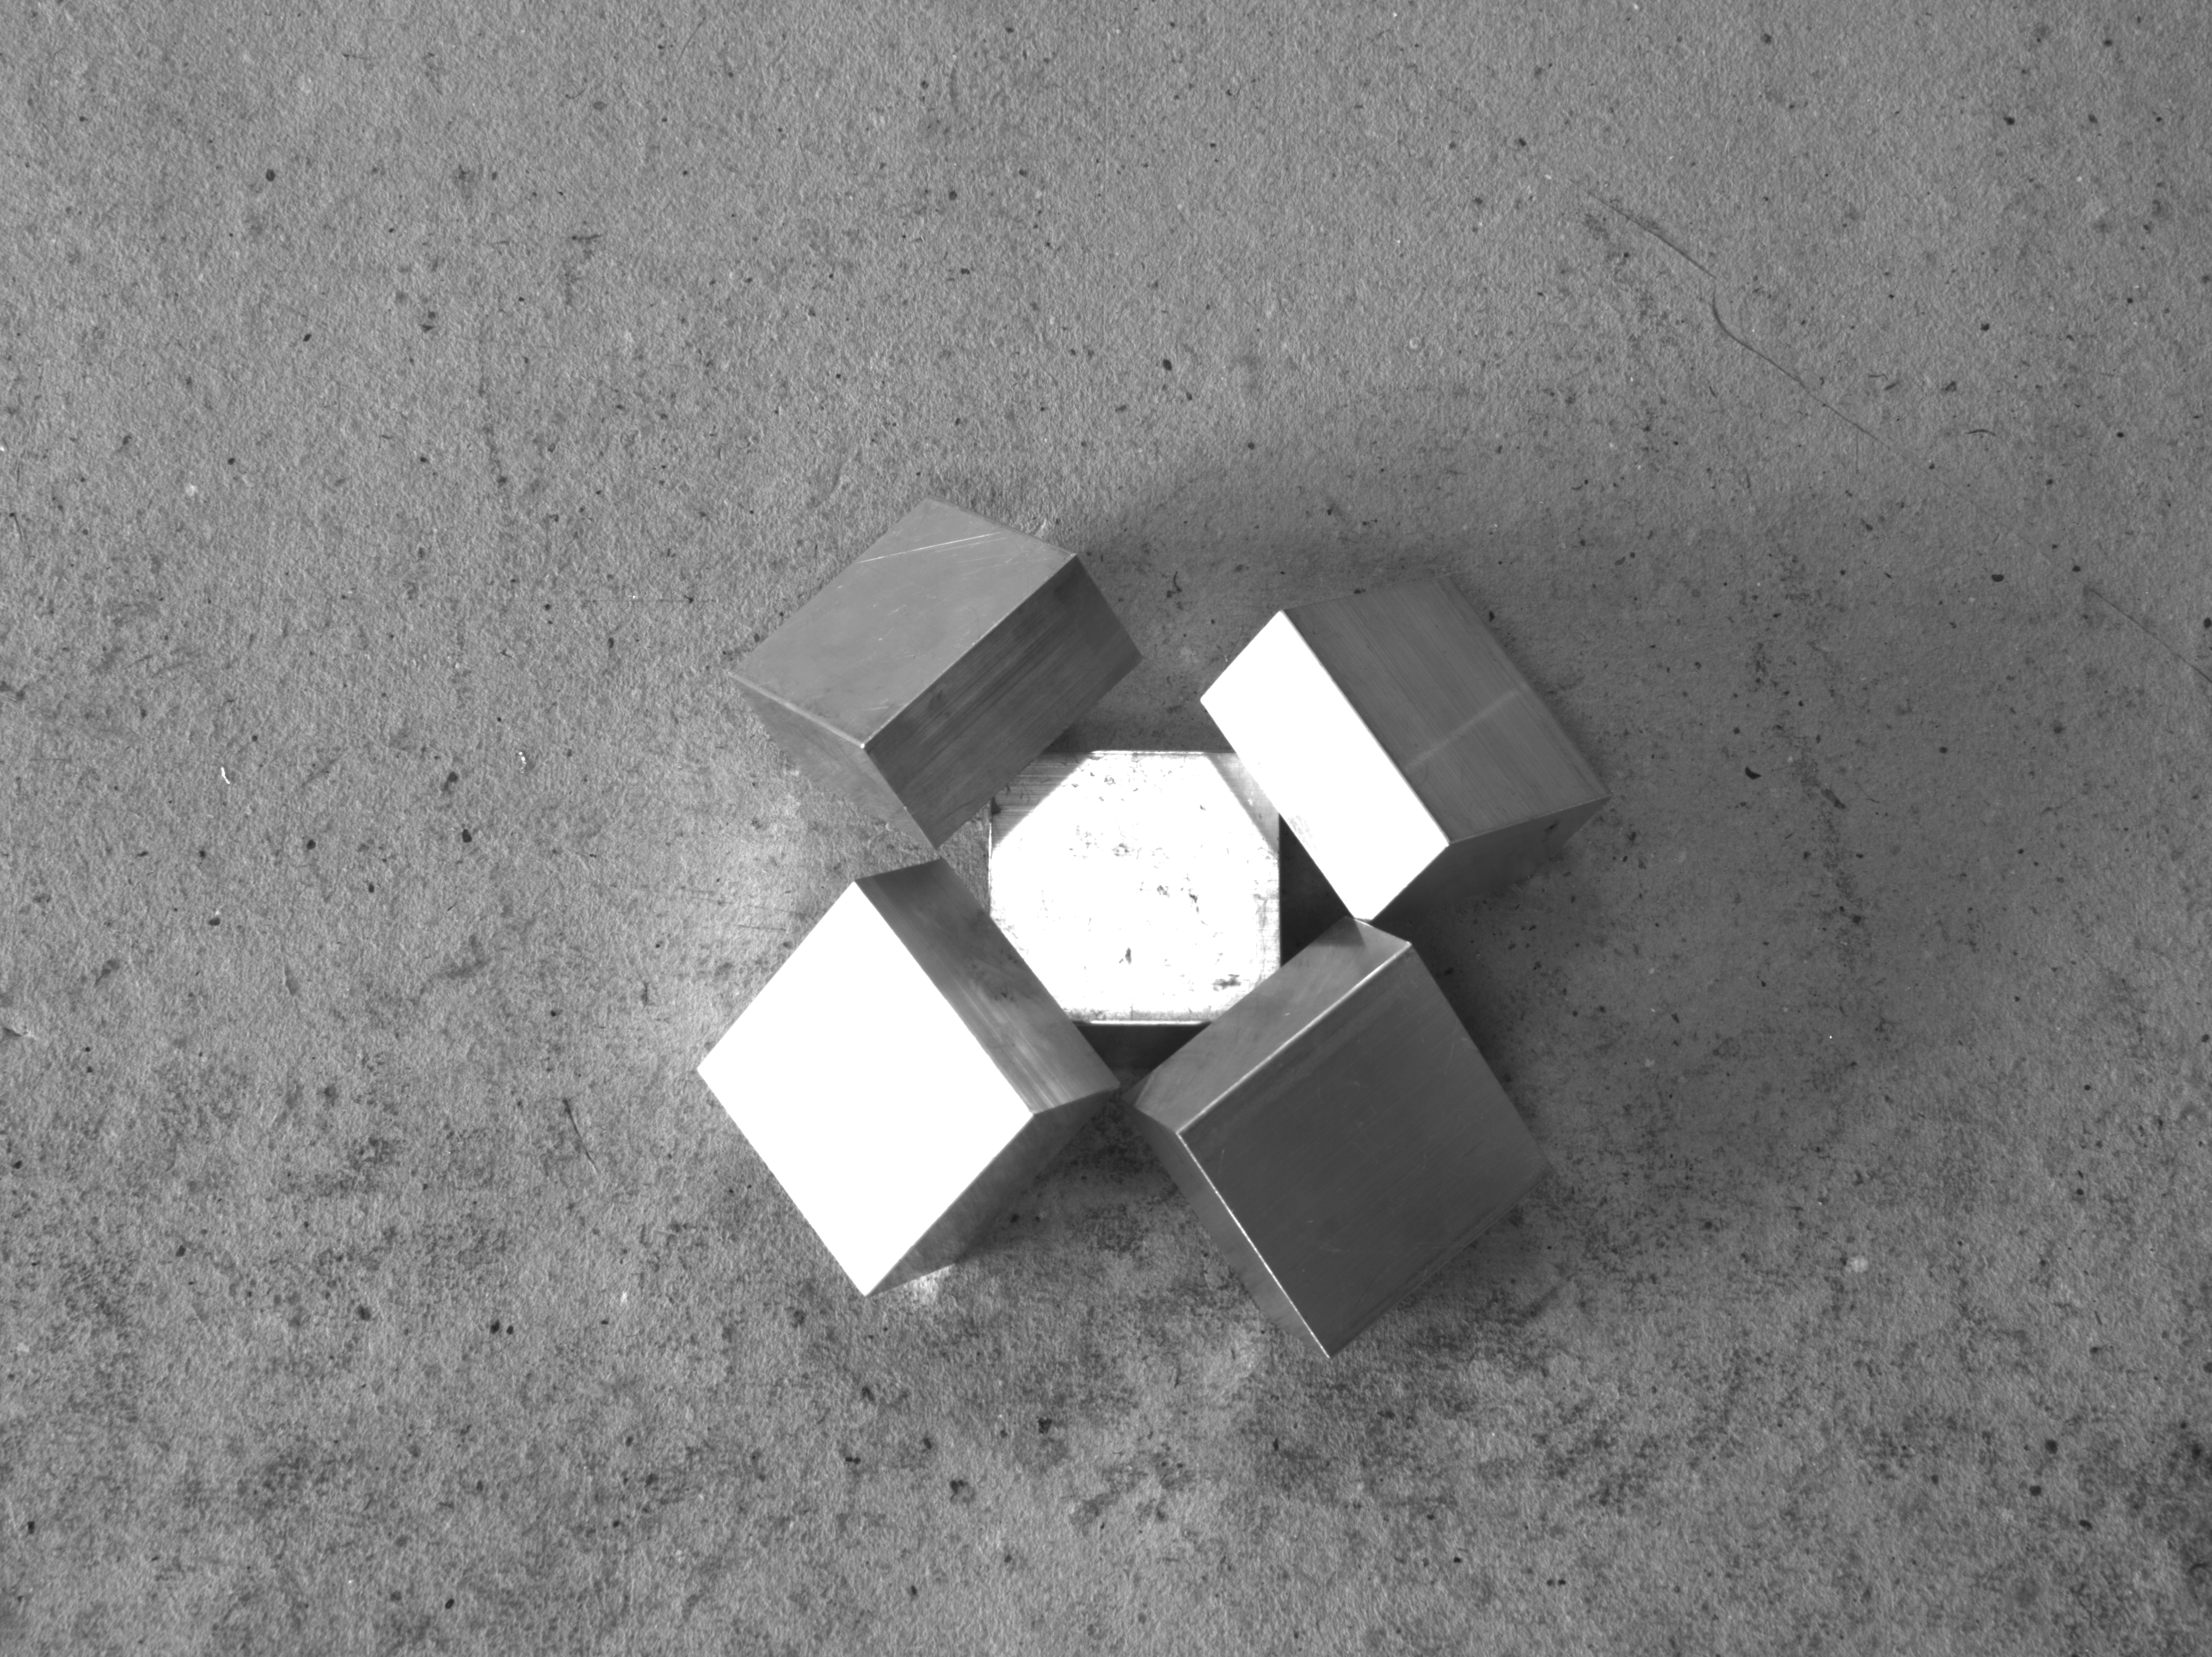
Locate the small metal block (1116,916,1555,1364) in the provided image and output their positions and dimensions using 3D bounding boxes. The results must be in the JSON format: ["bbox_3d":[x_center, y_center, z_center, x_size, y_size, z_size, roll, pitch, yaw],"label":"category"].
[{"bbox_3d":[0.038,0.051,0.614,0.050,0.025,0.050,-38,112,-13],"label":"small metal block"}]

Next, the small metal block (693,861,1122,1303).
[{"bbox_3d":[-0.034,0.042,0.616,0.050,0.025,0.050,51,121,16],"label":"small metal block"}]

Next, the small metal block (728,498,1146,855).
[{"bbox_3d":[-0.030,-0.027,0.642,0.050,0.025,0.050,-43,34,-14],"label":"small metal block"}]

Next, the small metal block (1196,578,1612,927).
[{"bbox_3d":[0.052,-0.013,0.638,0.050,0.025,0.050,-14,65,-49],"label":"small metal block"}]

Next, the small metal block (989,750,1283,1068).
[{"bbox_3d":[0.005,0.014,0.641,0.050,0.025,0.050,0,70,-1],"label":"small metal block"}]
